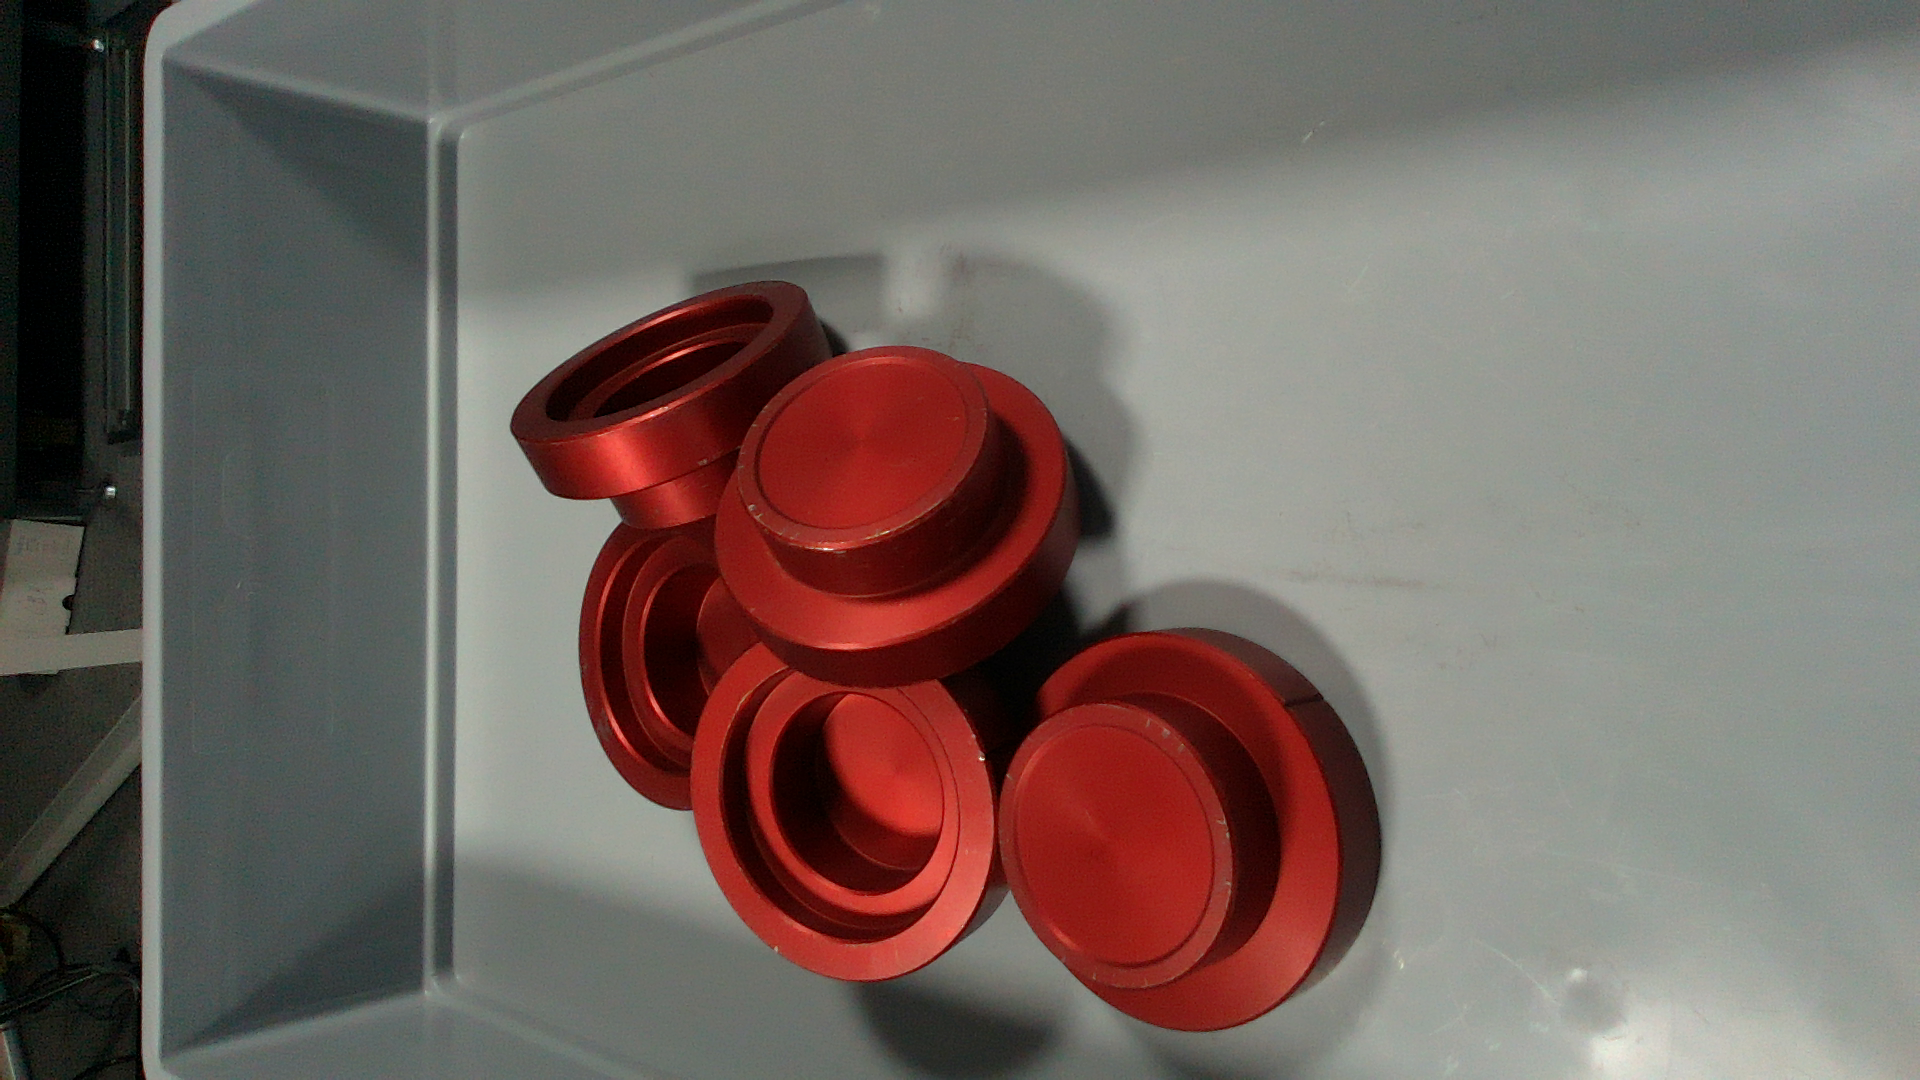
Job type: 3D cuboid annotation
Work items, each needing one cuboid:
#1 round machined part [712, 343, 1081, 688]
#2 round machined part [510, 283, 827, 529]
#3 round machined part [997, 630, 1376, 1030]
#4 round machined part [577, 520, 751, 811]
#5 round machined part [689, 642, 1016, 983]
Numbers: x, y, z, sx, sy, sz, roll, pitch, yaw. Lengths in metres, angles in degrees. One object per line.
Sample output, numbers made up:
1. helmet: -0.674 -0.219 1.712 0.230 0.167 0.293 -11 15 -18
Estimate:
1. round machined part: -0.020 -0.013 0.363 0.098 0.042 0.098 -9 50 12
2. round machined part: -0.085 -0.040 0.430 0.098 0.098 0.042 3 128 40
3. round machined part: 0.048 0.072 0.341 0.098 0.042 0.098 0 90 40
4. round machined part: -0.079 0.036 0.447 0.098 0.042 0.098 0 90 40
5. round machined part: -0.024 0.069 0.387 0.098 0.042 0.098 3 97 27
